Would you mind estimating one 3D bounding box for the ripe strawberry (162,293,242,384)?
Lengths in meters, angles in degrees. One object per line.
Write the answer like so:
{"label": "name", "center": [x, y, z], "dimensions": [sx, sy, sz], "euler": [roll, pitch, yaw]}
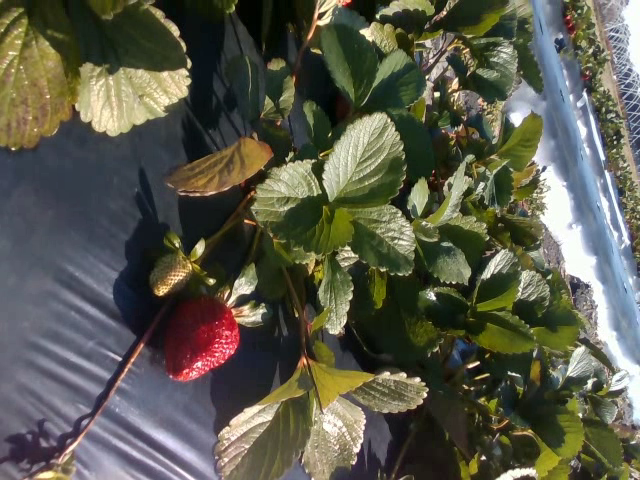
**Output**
{"label": "ripe strawberry", "center": [-0.059, 0.050, 0.284], "dimensions": [0.043, 0.042, 0.053], "euler": [-14, 32, 14]}
